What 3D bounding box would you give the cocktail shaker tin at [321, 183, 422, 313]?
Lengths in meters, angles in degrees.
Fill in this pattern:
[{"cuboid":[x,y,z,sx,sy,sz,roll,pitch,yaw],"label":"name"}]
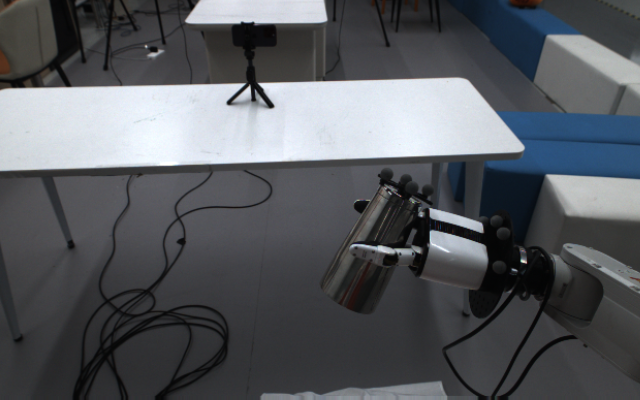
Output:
[{"cuboid":[0.079,0.063,0.693,0.093,0.170,0.093,24,13,-6],"label":"cocktail shaker tin"}]
